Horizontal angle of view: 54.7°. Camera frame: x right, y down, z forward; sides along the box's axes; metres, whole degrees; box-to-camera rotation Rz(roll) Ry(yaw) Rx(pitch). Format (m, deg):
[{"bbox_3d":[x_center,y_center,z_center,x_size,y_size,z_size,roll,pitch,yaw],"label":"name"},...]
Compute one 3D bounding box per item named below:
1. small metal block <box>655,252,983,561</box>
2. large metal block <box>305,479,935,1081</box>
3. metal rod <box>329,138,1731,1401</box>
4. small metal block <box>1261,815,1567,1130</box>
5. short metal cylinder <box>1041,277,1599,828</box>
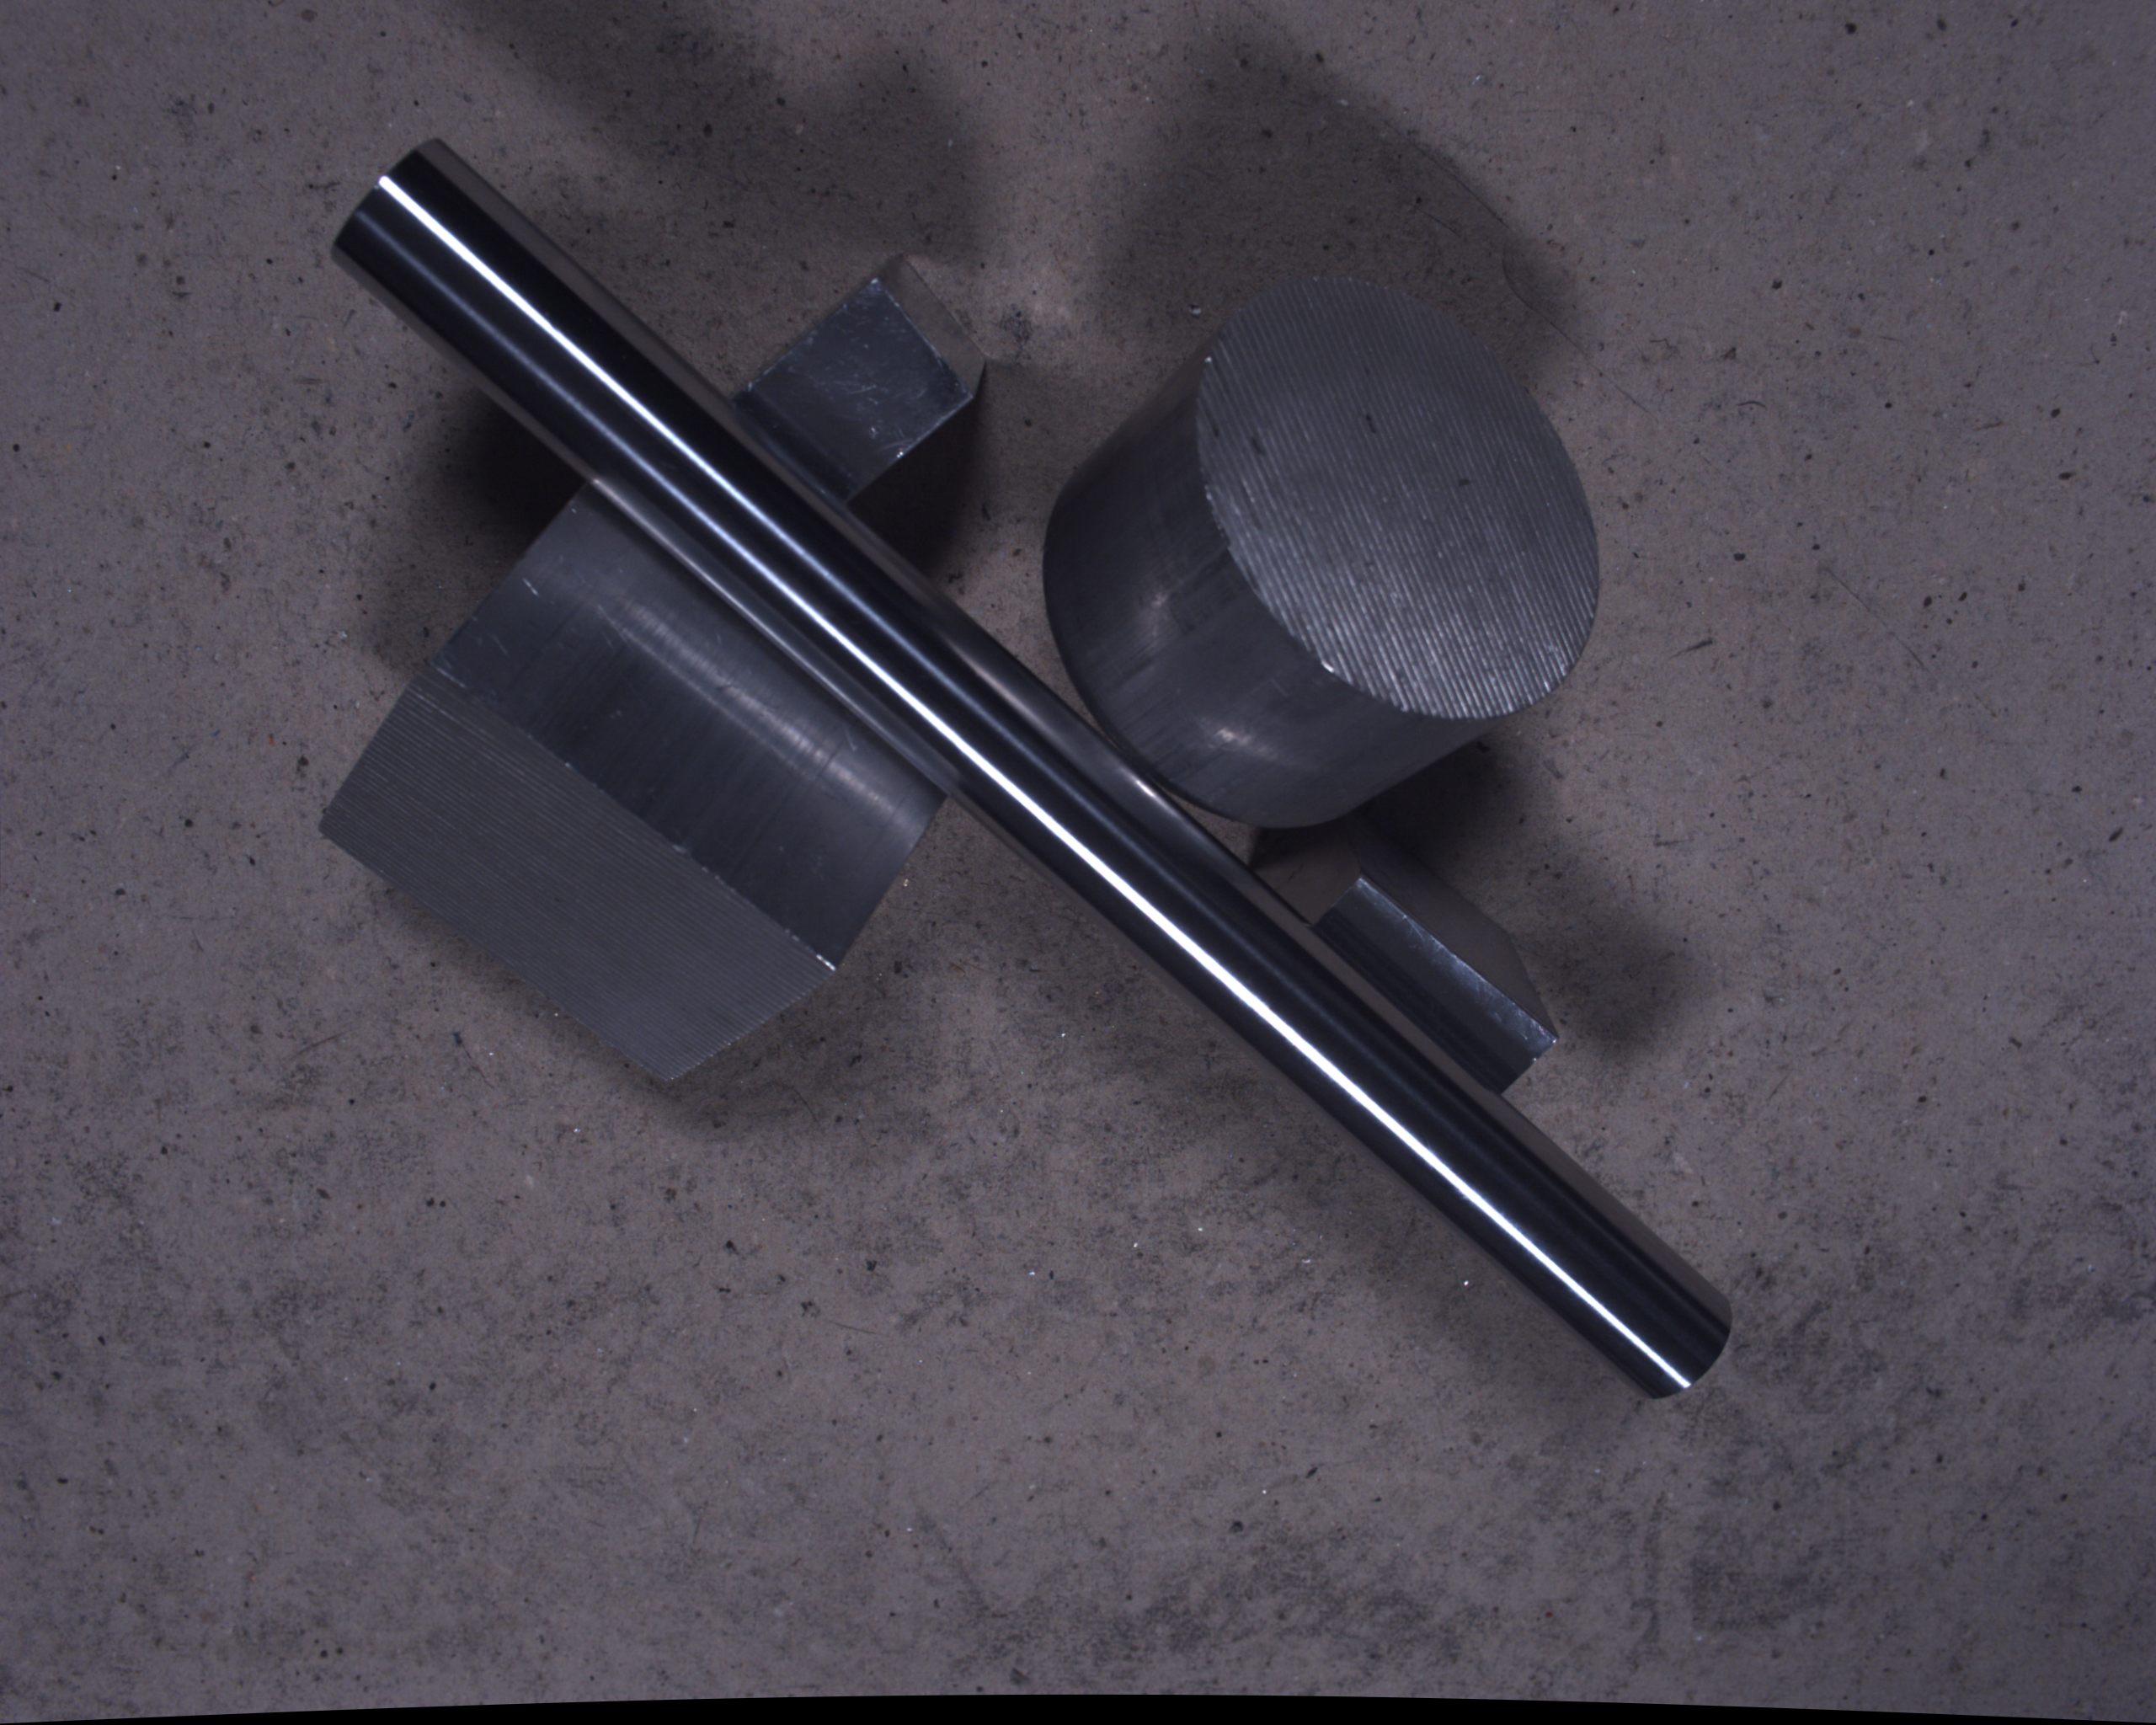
[{"bbox_3d":[-0.044,-0.080,0.368,0.050,0.050,0.025,-37,106,12],"label":"small metal block"},{"bbox_3d":[-0.080,-0.013,0.373,0.080,0.050,0.080,39,146,-14],"label":"large metal block"},{"bbox_3d":[0.003,-0.005,0.356,0.300,0.025,0.025,41,105,-14],"label":"metal rod"},{"bbox_3d":[0.062,0.018,0.402,0.050,0.050,0.025,39,105,-14],"label":"small metal block"},{"bbox_3d":[0.041,-0.052,0.357,0.080,0.080,0.050,37,147,-13],"label":"short metal cylinder"}]
